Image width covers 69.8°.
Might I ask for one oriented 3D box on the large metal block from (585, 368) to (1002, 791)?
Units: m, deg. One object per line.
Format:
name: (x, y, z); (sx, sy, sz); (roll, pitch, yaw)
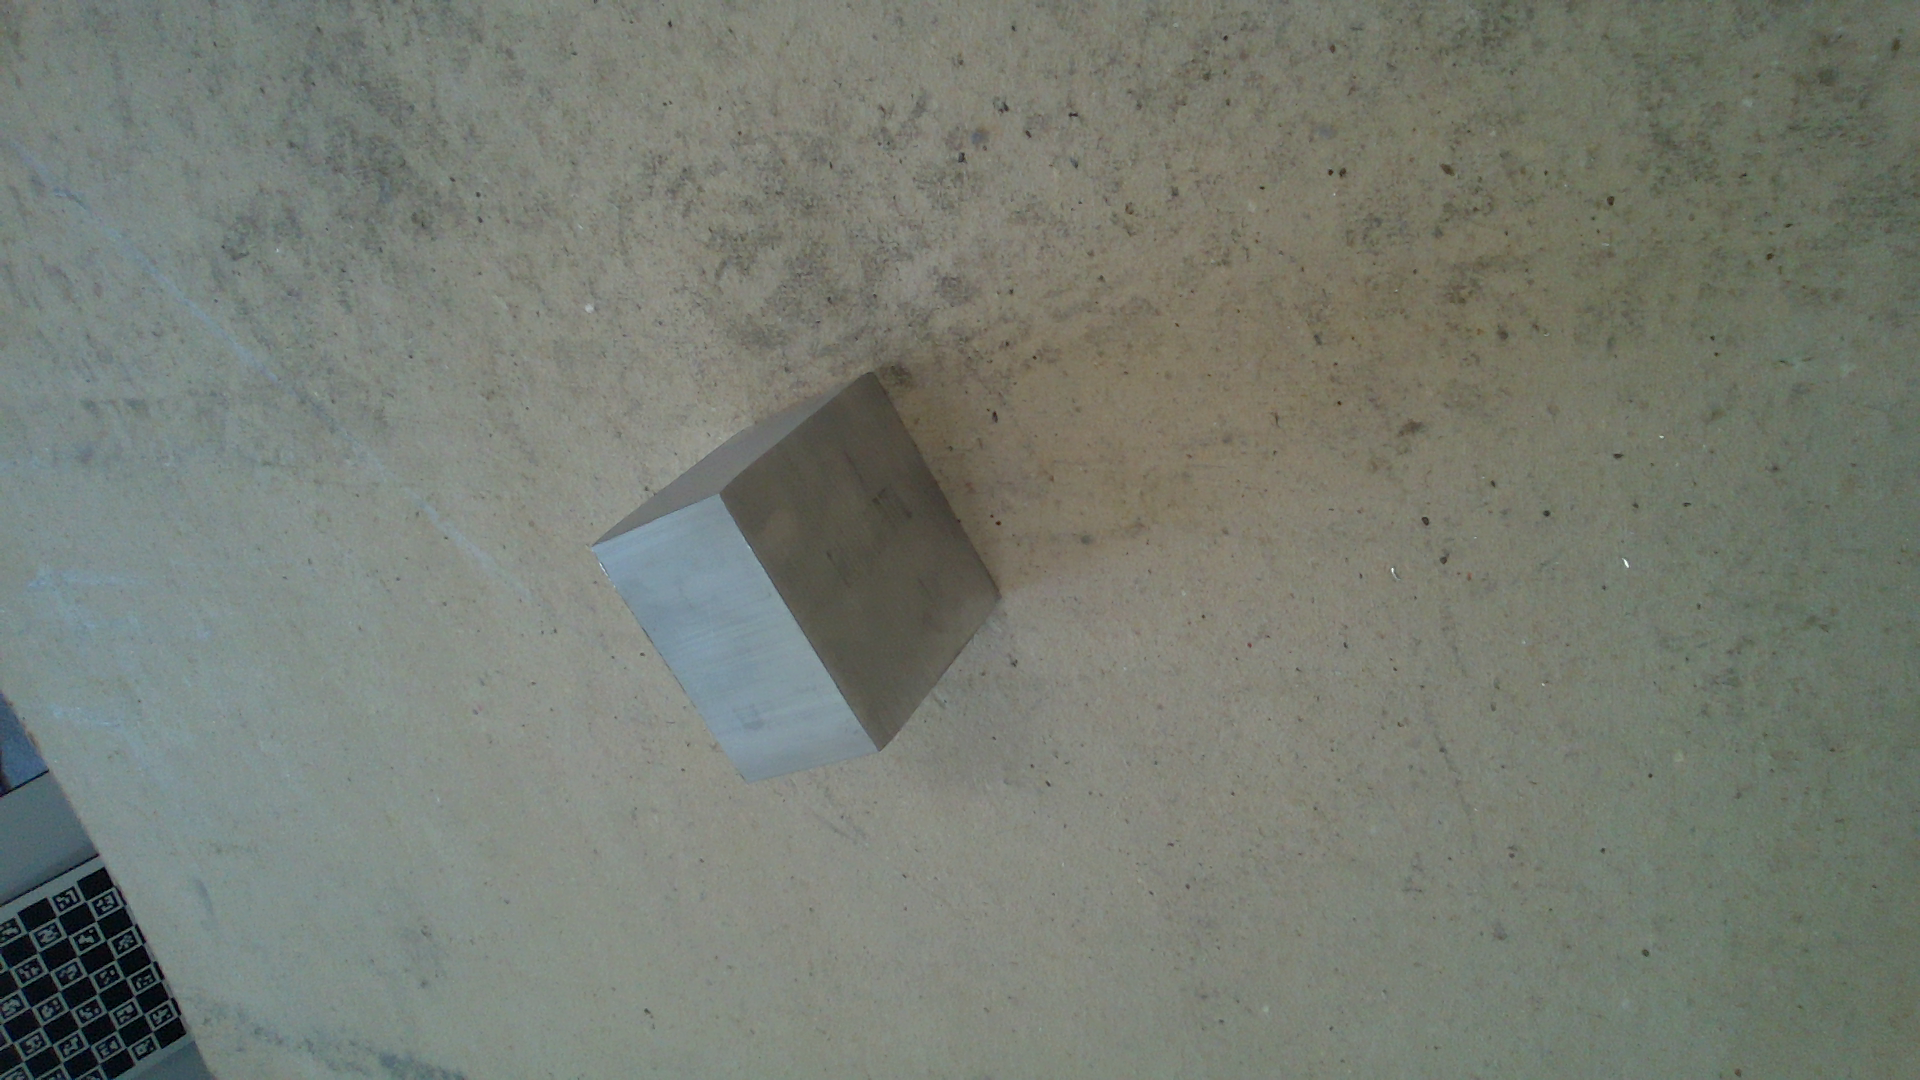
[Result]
large metal block: (-0.043, 0.010, 0.386); (0.050, 0.080, 0.080); (-19, 109, 35)
